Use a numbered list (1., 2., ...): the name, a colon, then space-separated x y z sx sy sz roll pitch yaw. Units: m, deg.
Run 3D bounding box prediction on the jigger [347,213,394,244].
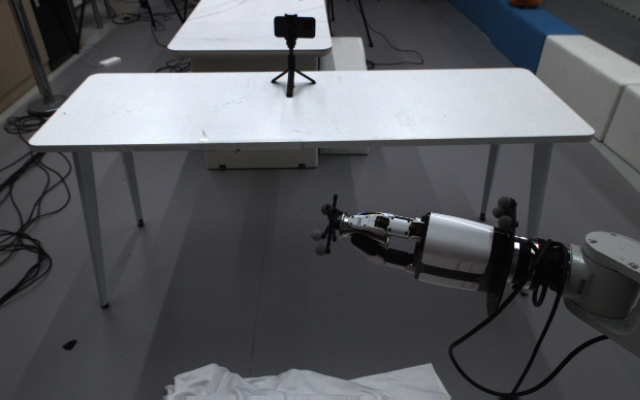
1. jigger: 0.072 0.037 0.689 0.071 0.043 0.043 8 35 16
